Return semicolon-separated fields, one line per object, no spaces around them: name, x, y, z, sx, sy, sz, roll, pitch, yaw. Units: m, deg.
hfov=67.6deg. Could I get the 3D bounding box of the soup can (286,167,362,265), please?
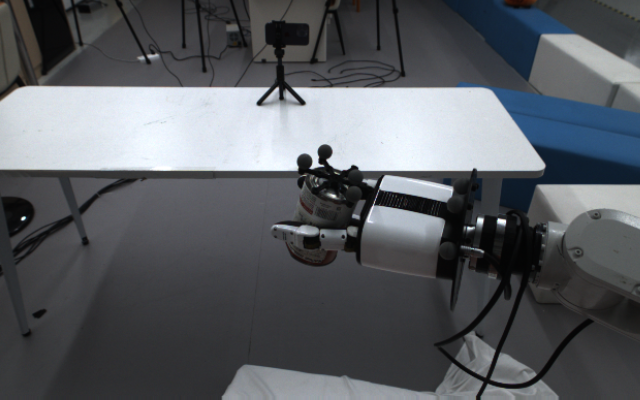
soup can;0.003;0.020;0.579;0.067;0.101;0.067;13;35;-9
